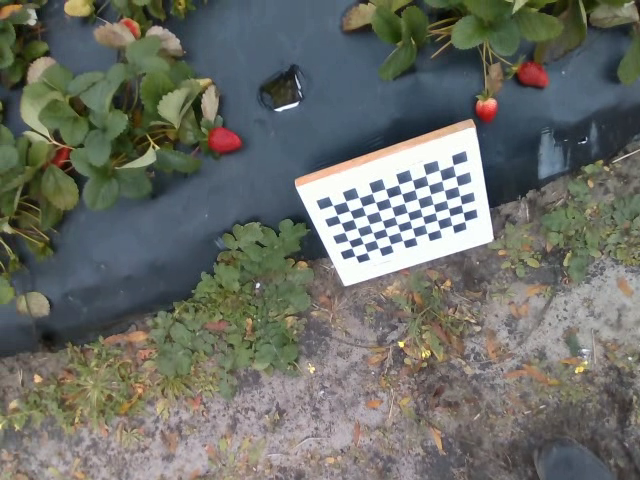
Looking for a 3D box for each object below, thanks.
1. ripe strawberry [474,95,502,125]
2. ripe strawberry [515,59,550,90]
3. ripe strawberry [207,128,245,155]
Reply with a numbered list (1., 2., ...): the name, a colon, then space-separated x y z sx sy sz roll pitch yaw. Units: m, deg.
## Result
1. ripe strawberry: 0.257 -0.199 0.915 0.036 0.041 0.028 -11 28 16
2. ripe strawberry: 0.318 -0.247 0.894 0.059 0.041 0.044 31 -42 -6
3. ripe strawberry: -0.155 -0.158 0.972 0.064 0.048 0.046 14 -31 24
